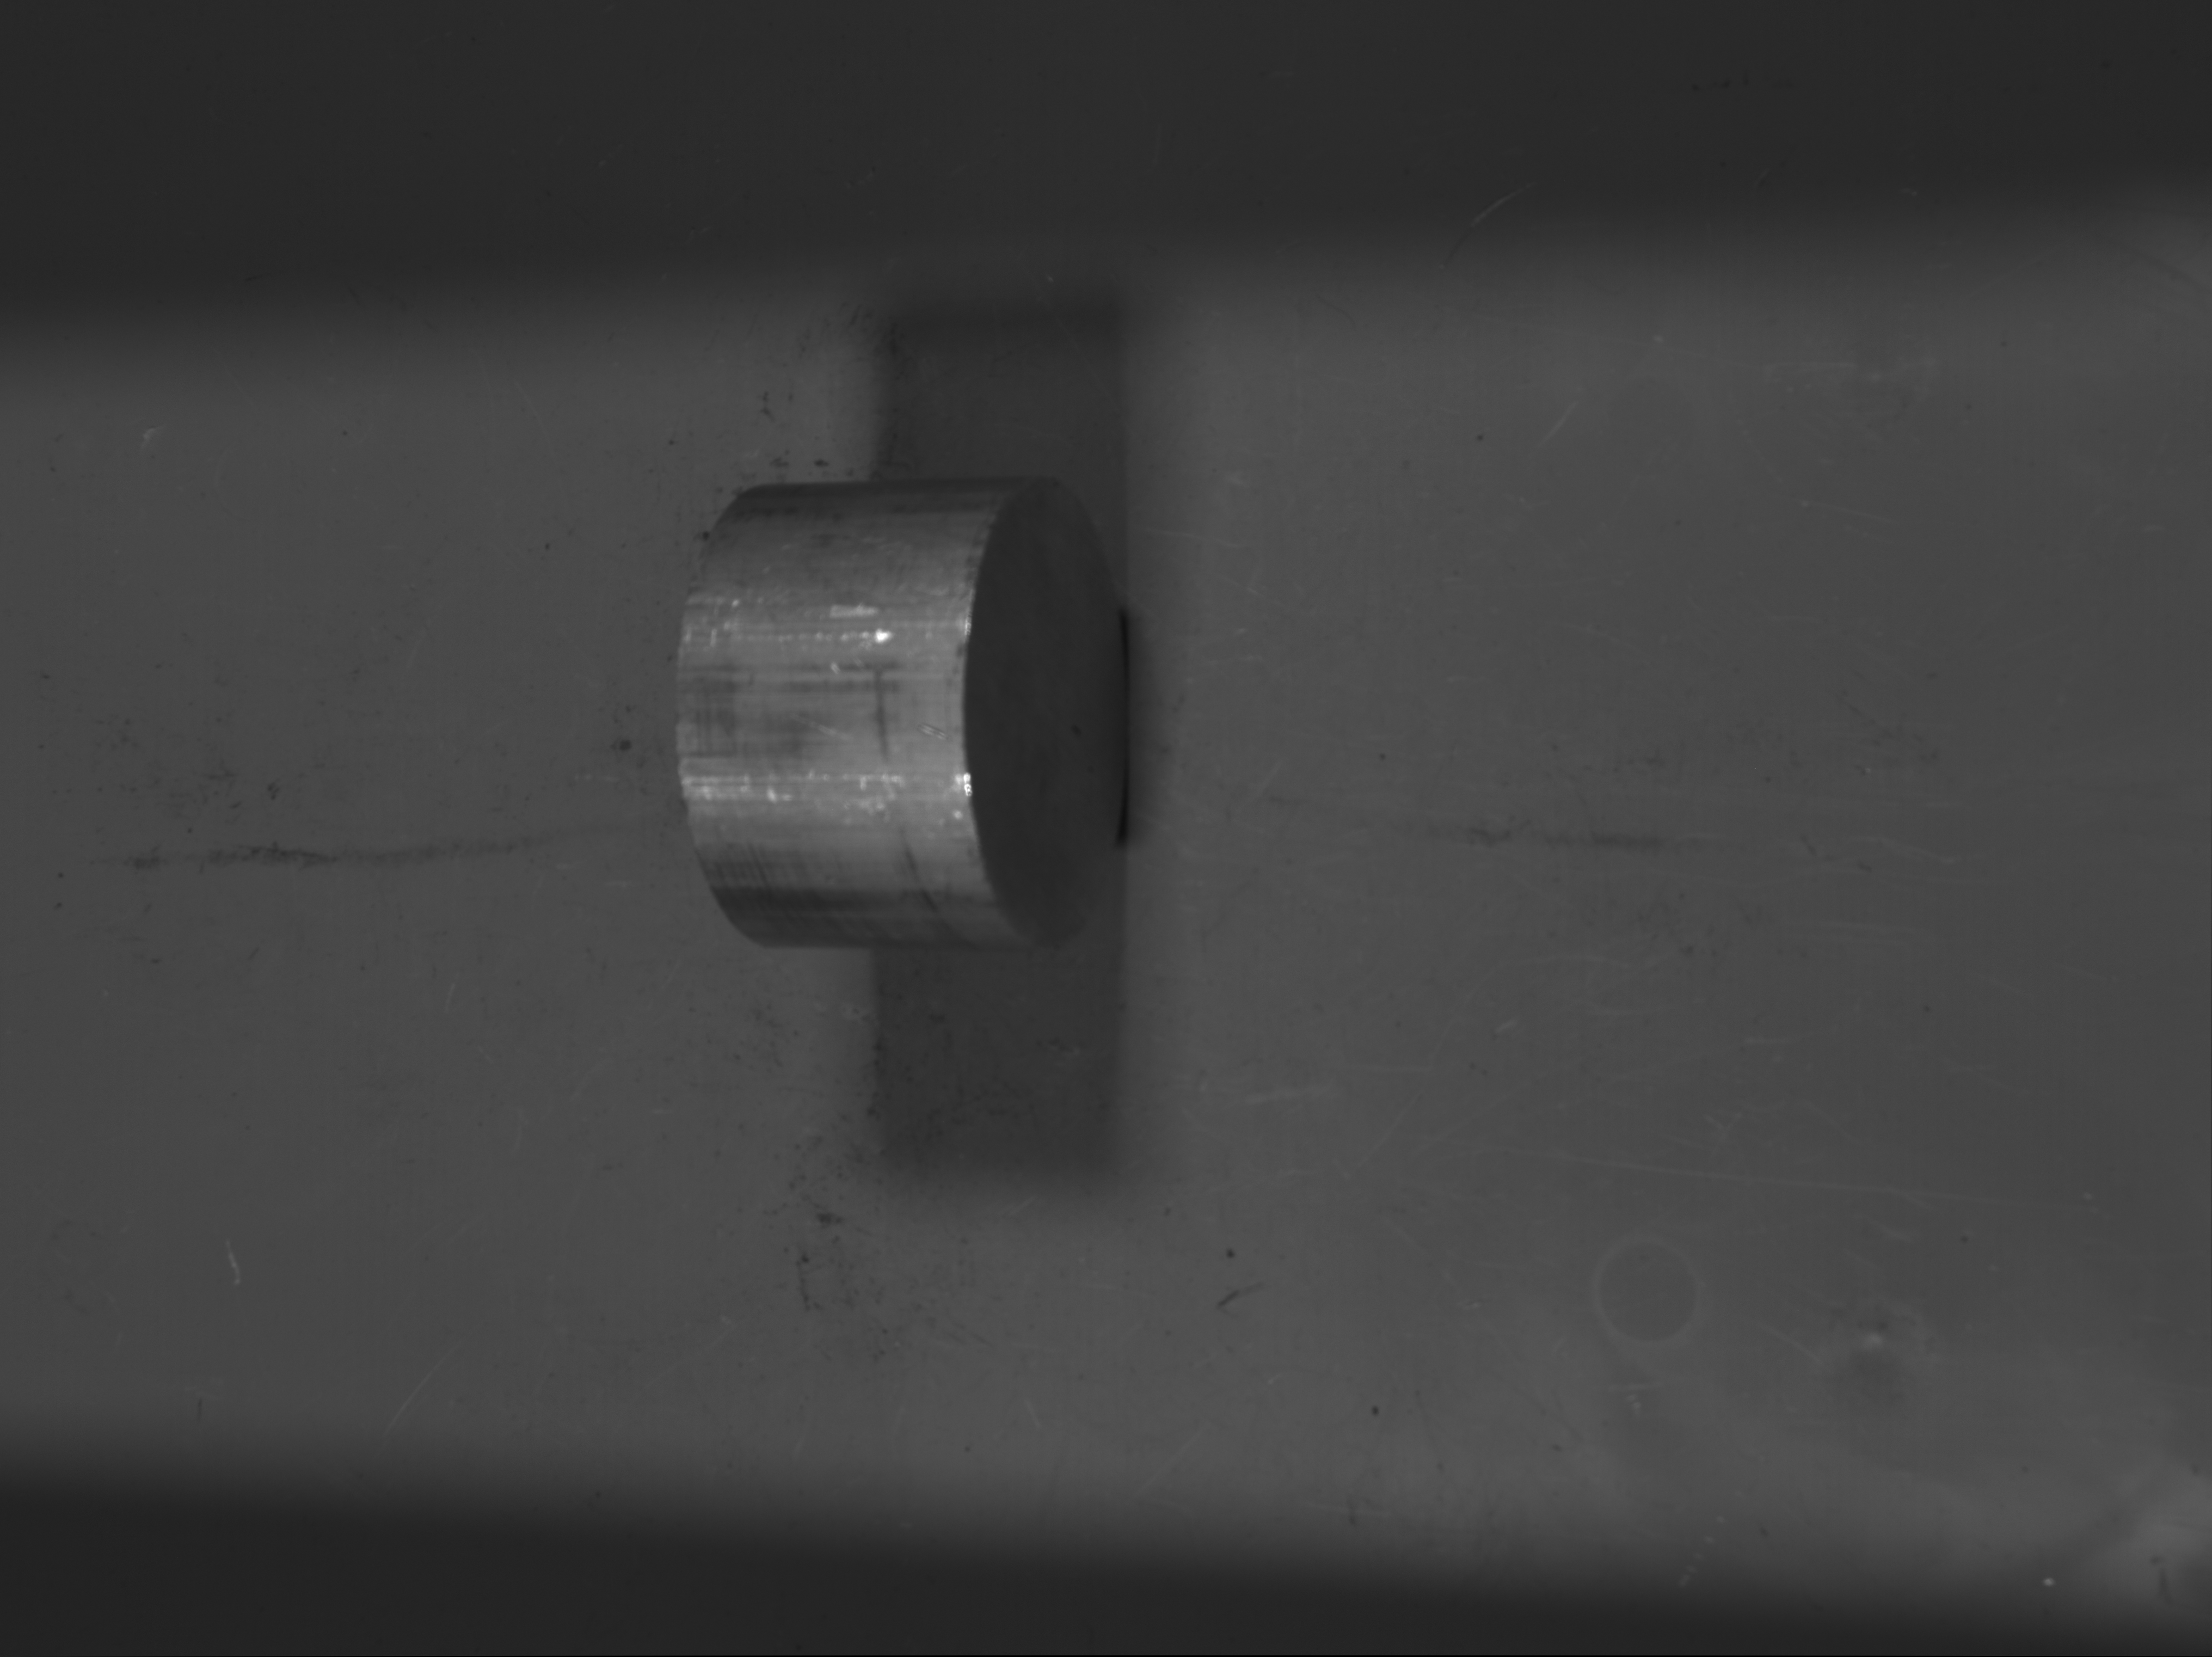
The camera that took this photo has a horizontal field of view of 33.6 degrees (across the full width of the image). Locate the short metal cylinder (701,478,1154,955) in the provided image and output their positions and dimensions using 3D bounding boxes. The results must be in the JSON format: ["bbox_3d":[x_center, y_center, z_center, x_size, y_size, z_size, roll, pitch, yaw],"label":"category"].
[{"bbox_3d":[-0.029,-0.019,0.623,0.050,0.080,0.080,0,90,20],"label":"short metal cylinder"}]
